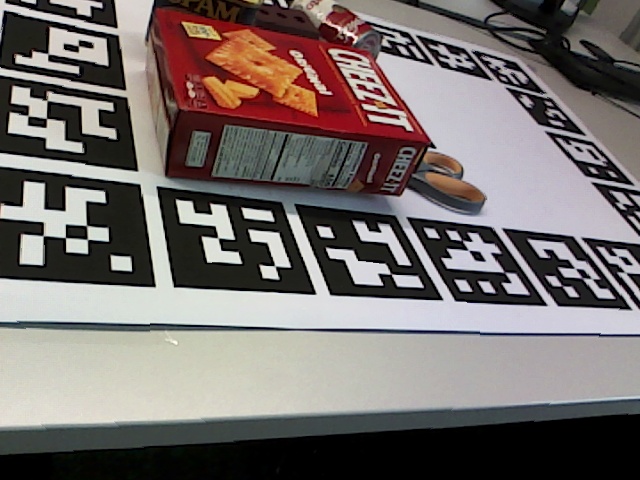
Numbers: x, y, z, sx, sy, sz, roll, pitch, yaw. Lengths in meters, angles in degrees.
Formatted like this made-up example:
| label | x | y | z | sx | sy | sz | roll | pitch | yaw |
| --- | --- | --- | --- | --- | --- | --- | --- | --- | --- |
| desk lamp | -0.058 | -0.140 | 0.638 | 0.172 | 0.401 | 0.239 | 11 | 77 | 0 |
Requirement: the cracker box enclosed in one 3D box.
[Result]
| label | x | y | z | sx | sy | sz | roll | pitch | yaw |
| --- | --- | --- | --- | --- | --- | --- | --- | --- | --- |
| cracker box | -0.037 | -0.114 | 0.540 | 0.212 | 0.072 | 0.165 | -3 | 46 | -28 |

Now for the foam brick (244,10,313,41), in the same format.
| label | x | y | z | sx | sy | sz | roll | pitch | yaw |
| --- | --- | --- | --- | --- | --- | --- | --- | --- | --- |
| foam brick | -0.057 | -0.217 | 0.687 | 0.077 | 0.051 | 0.053 | -4 | 49 | -35 |

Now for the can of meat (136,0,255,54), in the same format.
| label | x | y | z | sx | sy | sz | roll | pitch | yaw |
| --- | --- | --- | --- | --- | --- | --- | --- | --- | --- |
| can of meat | -0.125 | -0.214 | 0.611 | 0.101 | 0.084 | 0.058 | 15 | 41 | -17 |

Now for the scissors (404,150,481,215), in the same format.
| label | x | y | z | sx | sy | sz | roll | pitch | yaw |
| --- | --- | --- | --- | --- | --- | --- | --- | --- | --- |
| scissors | 0.063 | -0.059 | 0.588 | 0.201 | 0.016 | 0.088 | 0 | 46 | -30 |

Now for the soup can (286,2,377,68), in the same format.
| label | x | y | z | sx | sy | sz | roll | pitch | yaw |
| --- | --- | --- | --- | --- | --- | --- | --- | --- | --- |
| soup can | 0.008 | -0.232 | 0.741 | 0.102 | 0.068 | 0.067 | 35 | 38 | 17 |
